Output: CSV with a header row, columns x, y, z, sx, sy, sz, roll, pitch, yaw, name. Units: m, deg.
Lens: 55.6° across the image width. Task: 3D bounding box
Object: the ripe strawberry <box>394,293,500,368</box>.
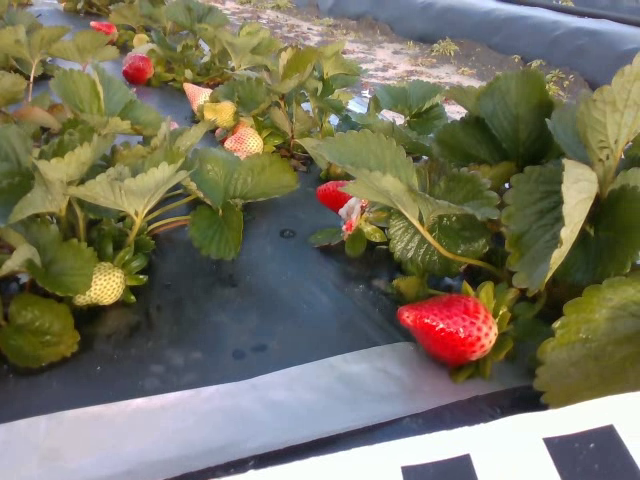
x,y,z,sx,sy,sz,roll,pitch,yaw,name
0.054,0.036,0.261,0.055,0.036,0.050,-1,33,-11,ripe strawberry
